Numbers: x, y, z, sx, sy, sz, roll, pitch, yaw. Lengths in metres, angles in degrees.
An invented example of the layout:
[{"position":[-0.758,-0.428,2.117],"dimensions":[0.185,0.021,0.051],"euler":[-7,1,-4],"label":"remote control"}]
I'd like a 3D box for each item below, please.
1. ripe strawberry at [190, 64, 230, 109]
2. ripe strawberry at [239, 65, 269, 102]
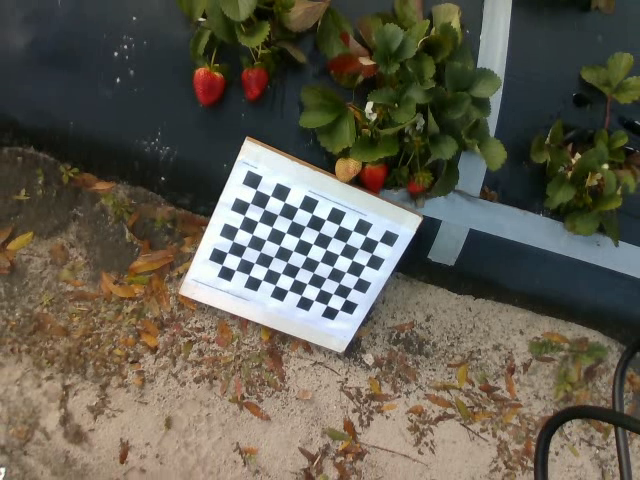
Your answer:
[{"position":[-0.163,-0.217,0.869],"dimensions":[0.050,0.061,0.045],"euler":[14,-12,-5],"label":"ripe strawberry"},{"position":[-0.097,-0.227,0.874],"dimensions":[0.042,0.053,0.034],"euler":[9,-8,-2],"label":"ripe strawberry"}]
